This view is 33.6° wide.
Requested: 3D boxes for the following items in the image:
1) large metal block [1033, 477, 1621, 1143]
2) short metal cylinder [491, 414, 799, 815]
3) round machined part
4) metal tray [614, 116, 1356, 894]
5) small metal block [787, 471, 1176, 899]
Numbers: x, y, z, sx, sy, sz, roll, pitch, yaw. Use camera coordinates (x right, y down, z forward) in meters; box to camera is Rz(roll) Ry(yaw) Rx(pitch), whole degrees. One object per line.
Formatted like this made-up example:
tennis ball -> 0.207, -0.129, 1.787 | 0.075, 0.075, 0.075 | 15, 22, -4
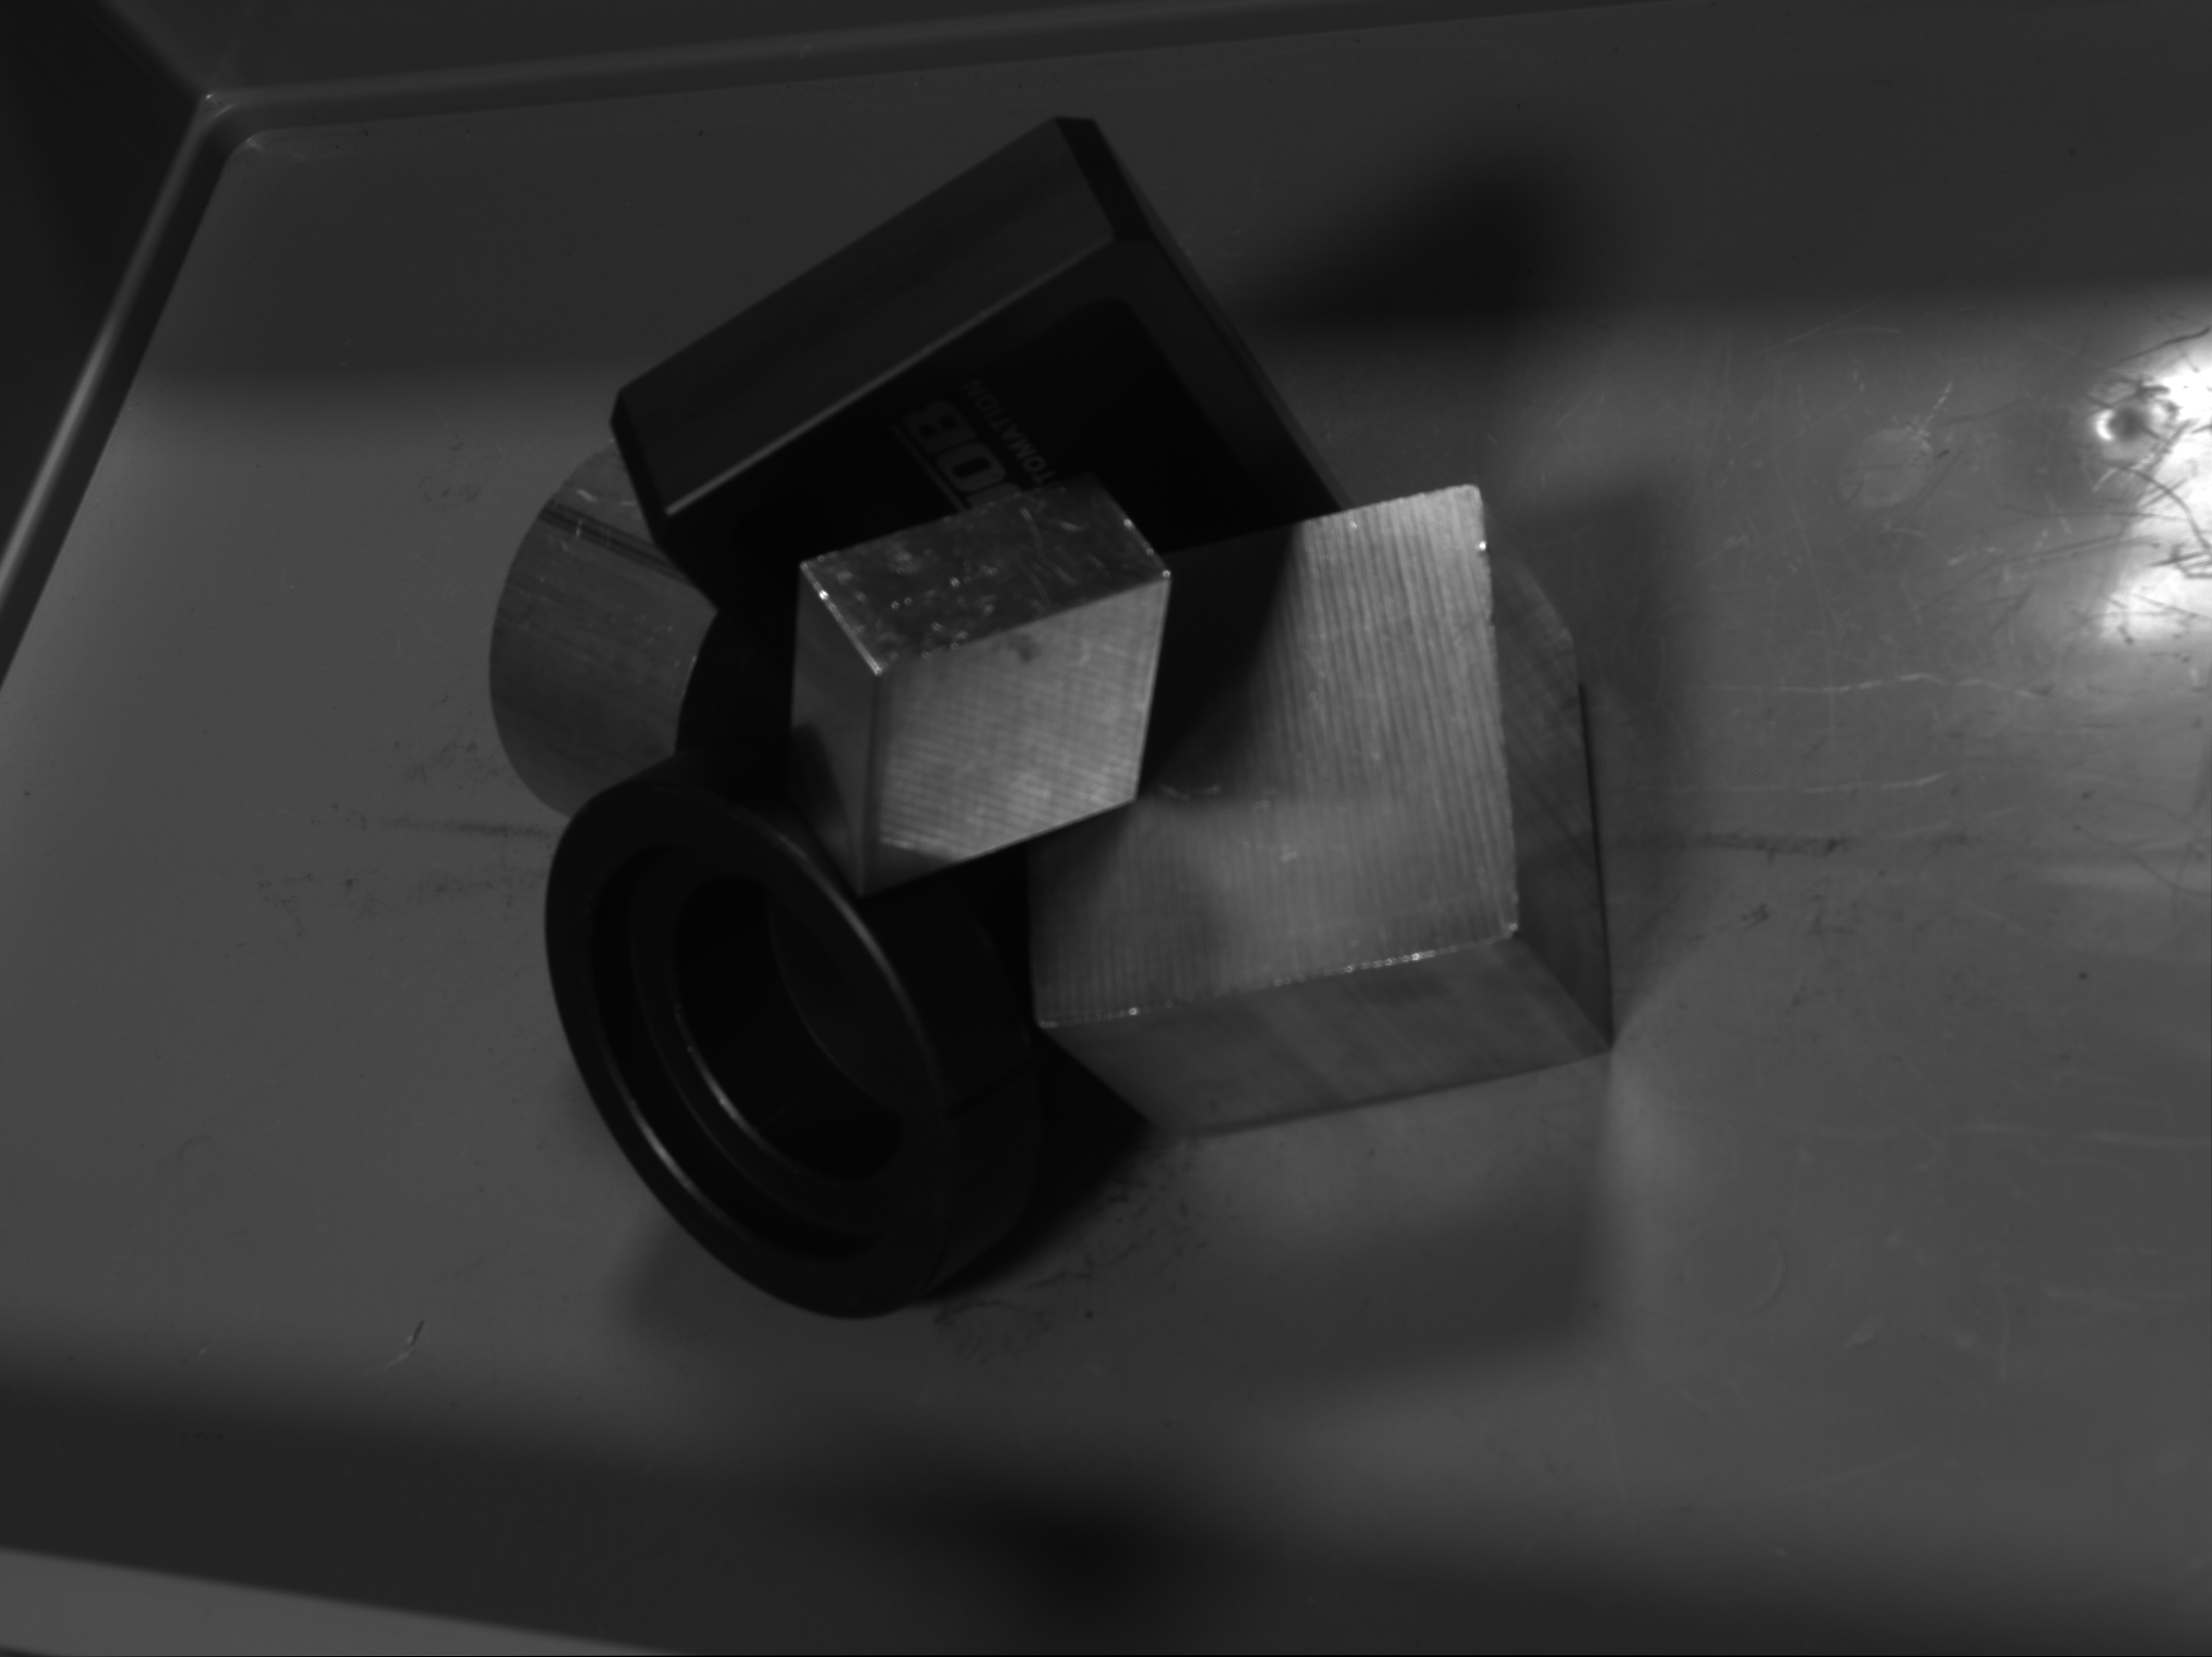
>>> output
large metal block -> 0.035, -0.002, 0.599 | 0.080, 0.050, 0.080 | -13, 60, 21
short metal cylinder -> -0.063, -0.030, 0.660 | 0.050, 0.080, 0.080 | 25, 75, 37
round machined part -> -0.046, 0.029, 0.614 | 0.098, 0.098, 0.042 | 22, 38, 36
metal tray -> -0.010, -0.049, 0.610 | 0.090, 0.130, 0.030 | -31, 52, 8
small metal block -> -0.020, -0.022, 0.563 | 0.050, 0.050, 0.025 | -20, 54, -24
